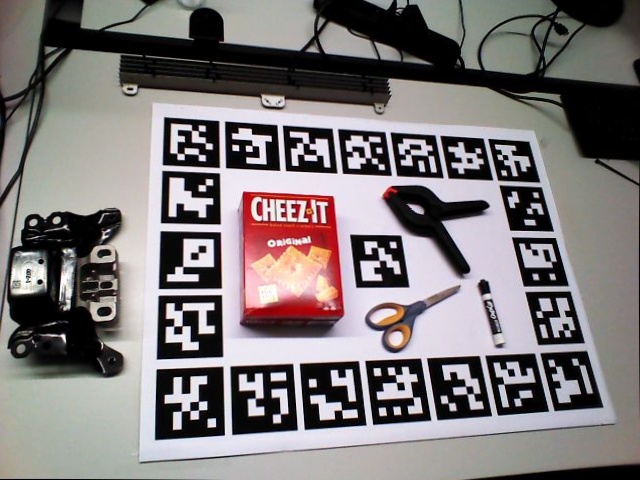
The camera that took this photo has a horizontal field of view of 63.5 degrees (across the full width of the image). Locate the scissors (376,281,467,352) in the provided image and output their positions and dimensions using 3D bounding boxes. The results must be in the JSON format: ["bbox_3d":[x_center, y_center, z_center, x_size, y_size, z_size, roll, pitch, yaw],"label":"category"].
[{"bbox_3d":[0.187,0.116,0.906,0.202,0.016,0.087,-28,75,-25],"label":"scissors"}]

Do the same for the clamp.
[{"bbox_3d":[0.219,-0.054,0.993,0.203,0.037,0.164,29,62,-1],"label":"clamp"}]

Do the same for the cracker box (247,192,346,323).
[{"bbox_3d":[-0.039,0.028,0.859,0.164,0.072,0.212,2,67,-13],"label":"cracker box"}]

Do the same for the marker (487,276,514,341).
[{"bbox_3d":[0.326,0.122,0.938,0.019,0.020,0.120,-3,67,-15],"label":"marker"}]
